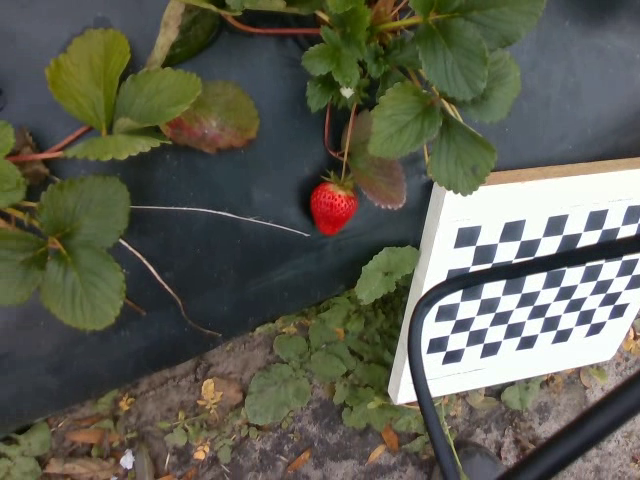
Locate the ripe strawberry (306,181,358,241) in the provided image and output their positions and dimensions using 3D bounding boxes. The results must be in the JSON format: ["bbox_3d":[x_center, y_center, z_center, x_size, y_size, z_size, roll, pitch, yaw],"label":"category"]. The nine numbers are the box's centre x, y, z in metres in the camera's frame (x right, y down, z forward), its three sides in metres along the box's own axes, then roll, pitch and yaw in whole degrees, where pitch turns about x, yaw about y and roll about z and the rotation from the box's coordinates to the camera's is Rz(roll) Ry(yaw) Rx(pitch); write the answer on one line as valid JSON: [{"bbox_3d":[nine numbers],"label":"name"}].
[{"bbox_3d":[0.006,-0.015,0.322,0.028,0.033,0.023,9,31,-22],"label":"ripe strawberry"}]
